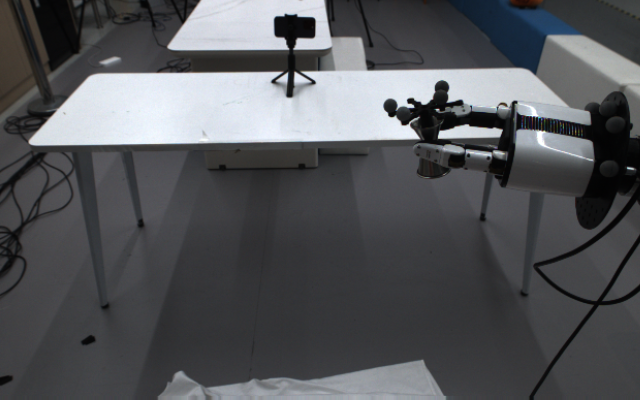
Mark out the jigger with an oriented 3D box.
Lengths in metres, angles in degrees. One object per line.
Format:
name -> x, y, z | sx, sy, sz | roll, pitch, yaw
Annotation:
jigger -> 0.139, -0.066, 0.607 | 0.043, 0.071, 0.043 | -12, 29, 7
